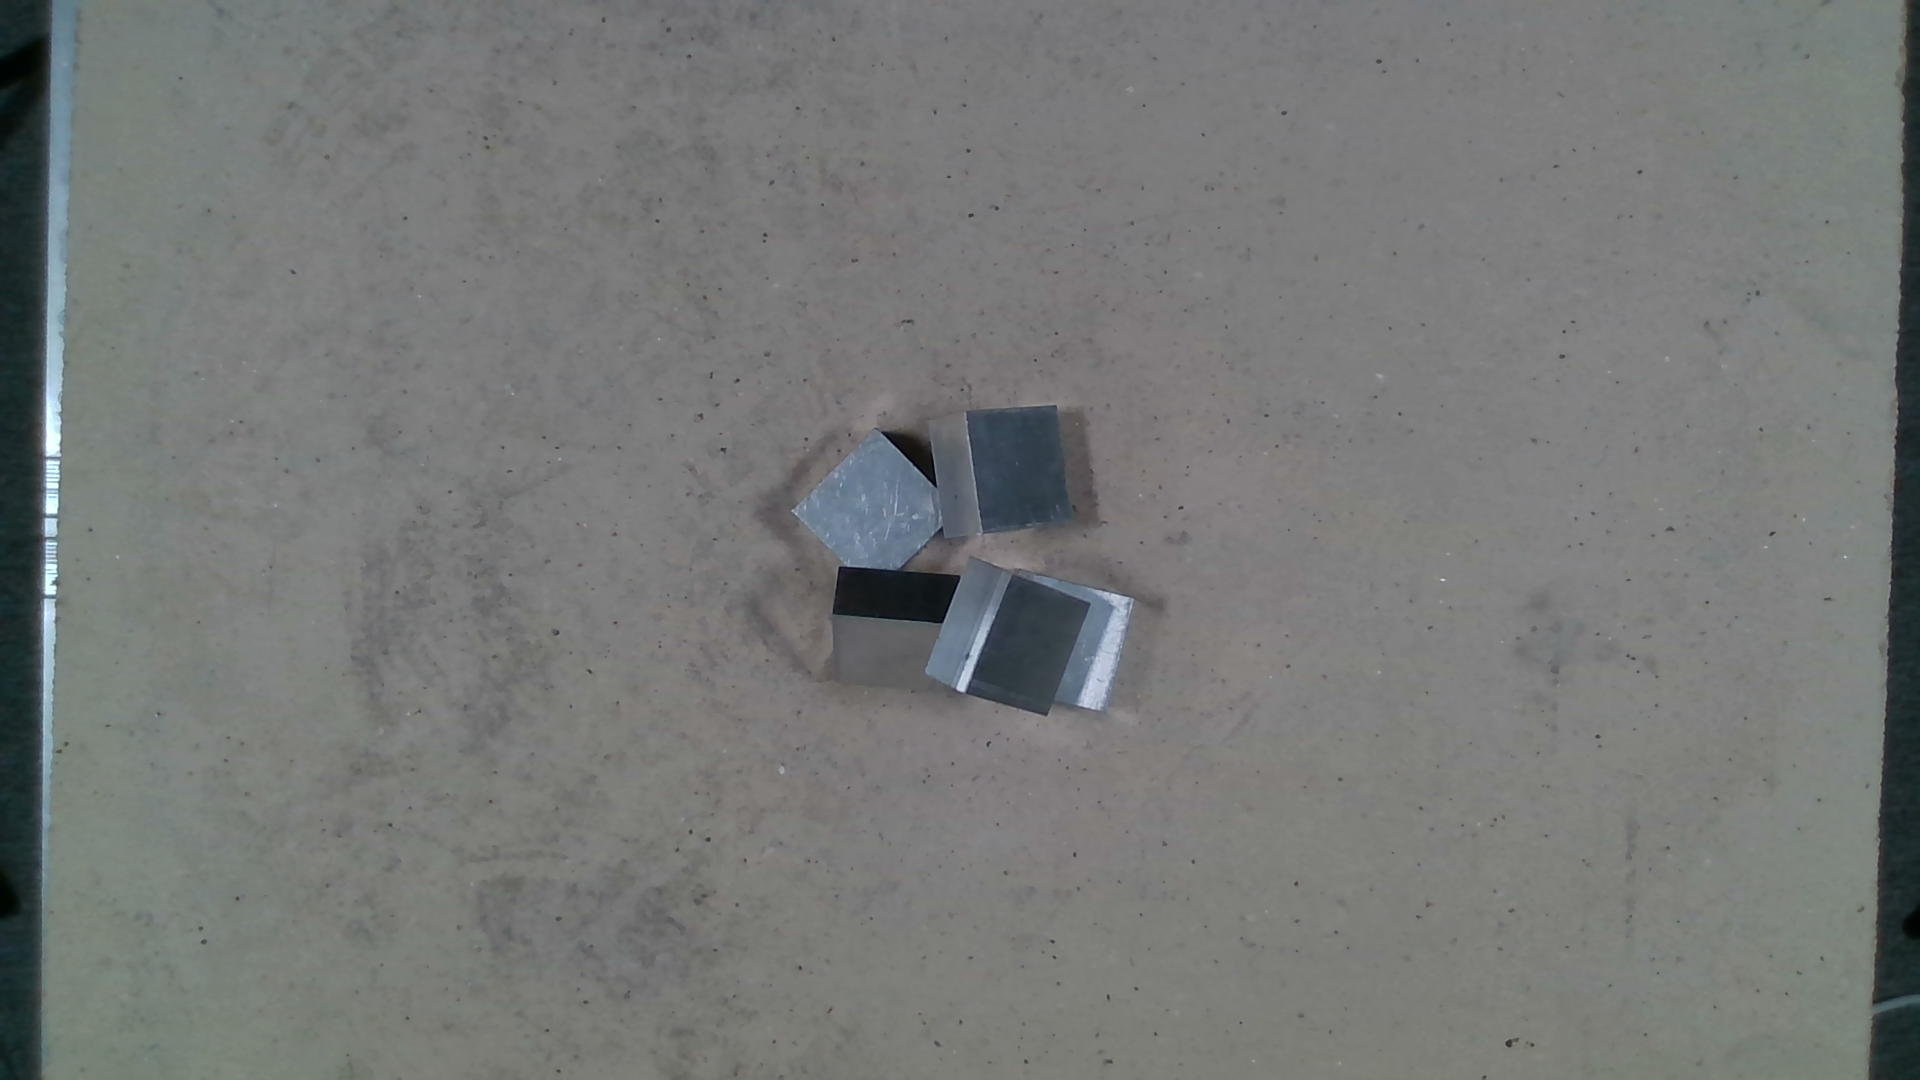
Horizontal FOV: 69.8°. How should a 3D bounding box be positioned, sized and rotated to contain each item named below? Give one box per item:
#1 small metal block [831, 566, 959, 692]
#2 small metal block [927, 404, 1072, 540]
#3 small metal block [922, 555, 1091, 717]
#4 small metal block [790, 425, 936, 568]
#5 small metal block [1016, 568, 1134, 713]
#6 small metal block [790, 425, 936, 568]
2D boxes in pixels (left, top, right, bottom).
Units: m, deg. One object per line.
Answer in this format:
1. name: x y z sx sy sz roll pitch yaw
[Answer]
1. small metal block: -0.027 0.038 0.573 0.050 0.050 0.025 5 52 -1
2. small metal block: 0.017 -0.029 0.574 0.050 0.025 0.050 -8 91 -38
3. small metal block: 0.019 0.039 0.549 0.050 0.025 0.050 21 91 -44
4. small metal block: -0.036 -0.012 0.587 0.050 0.025 0.050 -45 90 0
5. small metal block: 0.043 0.042 0.588 0.050 0.025 0.050 14 90 0
6. small metal block: -0.036 -0.013 0.587 0.050 0.025 0.050 -45 90 0
